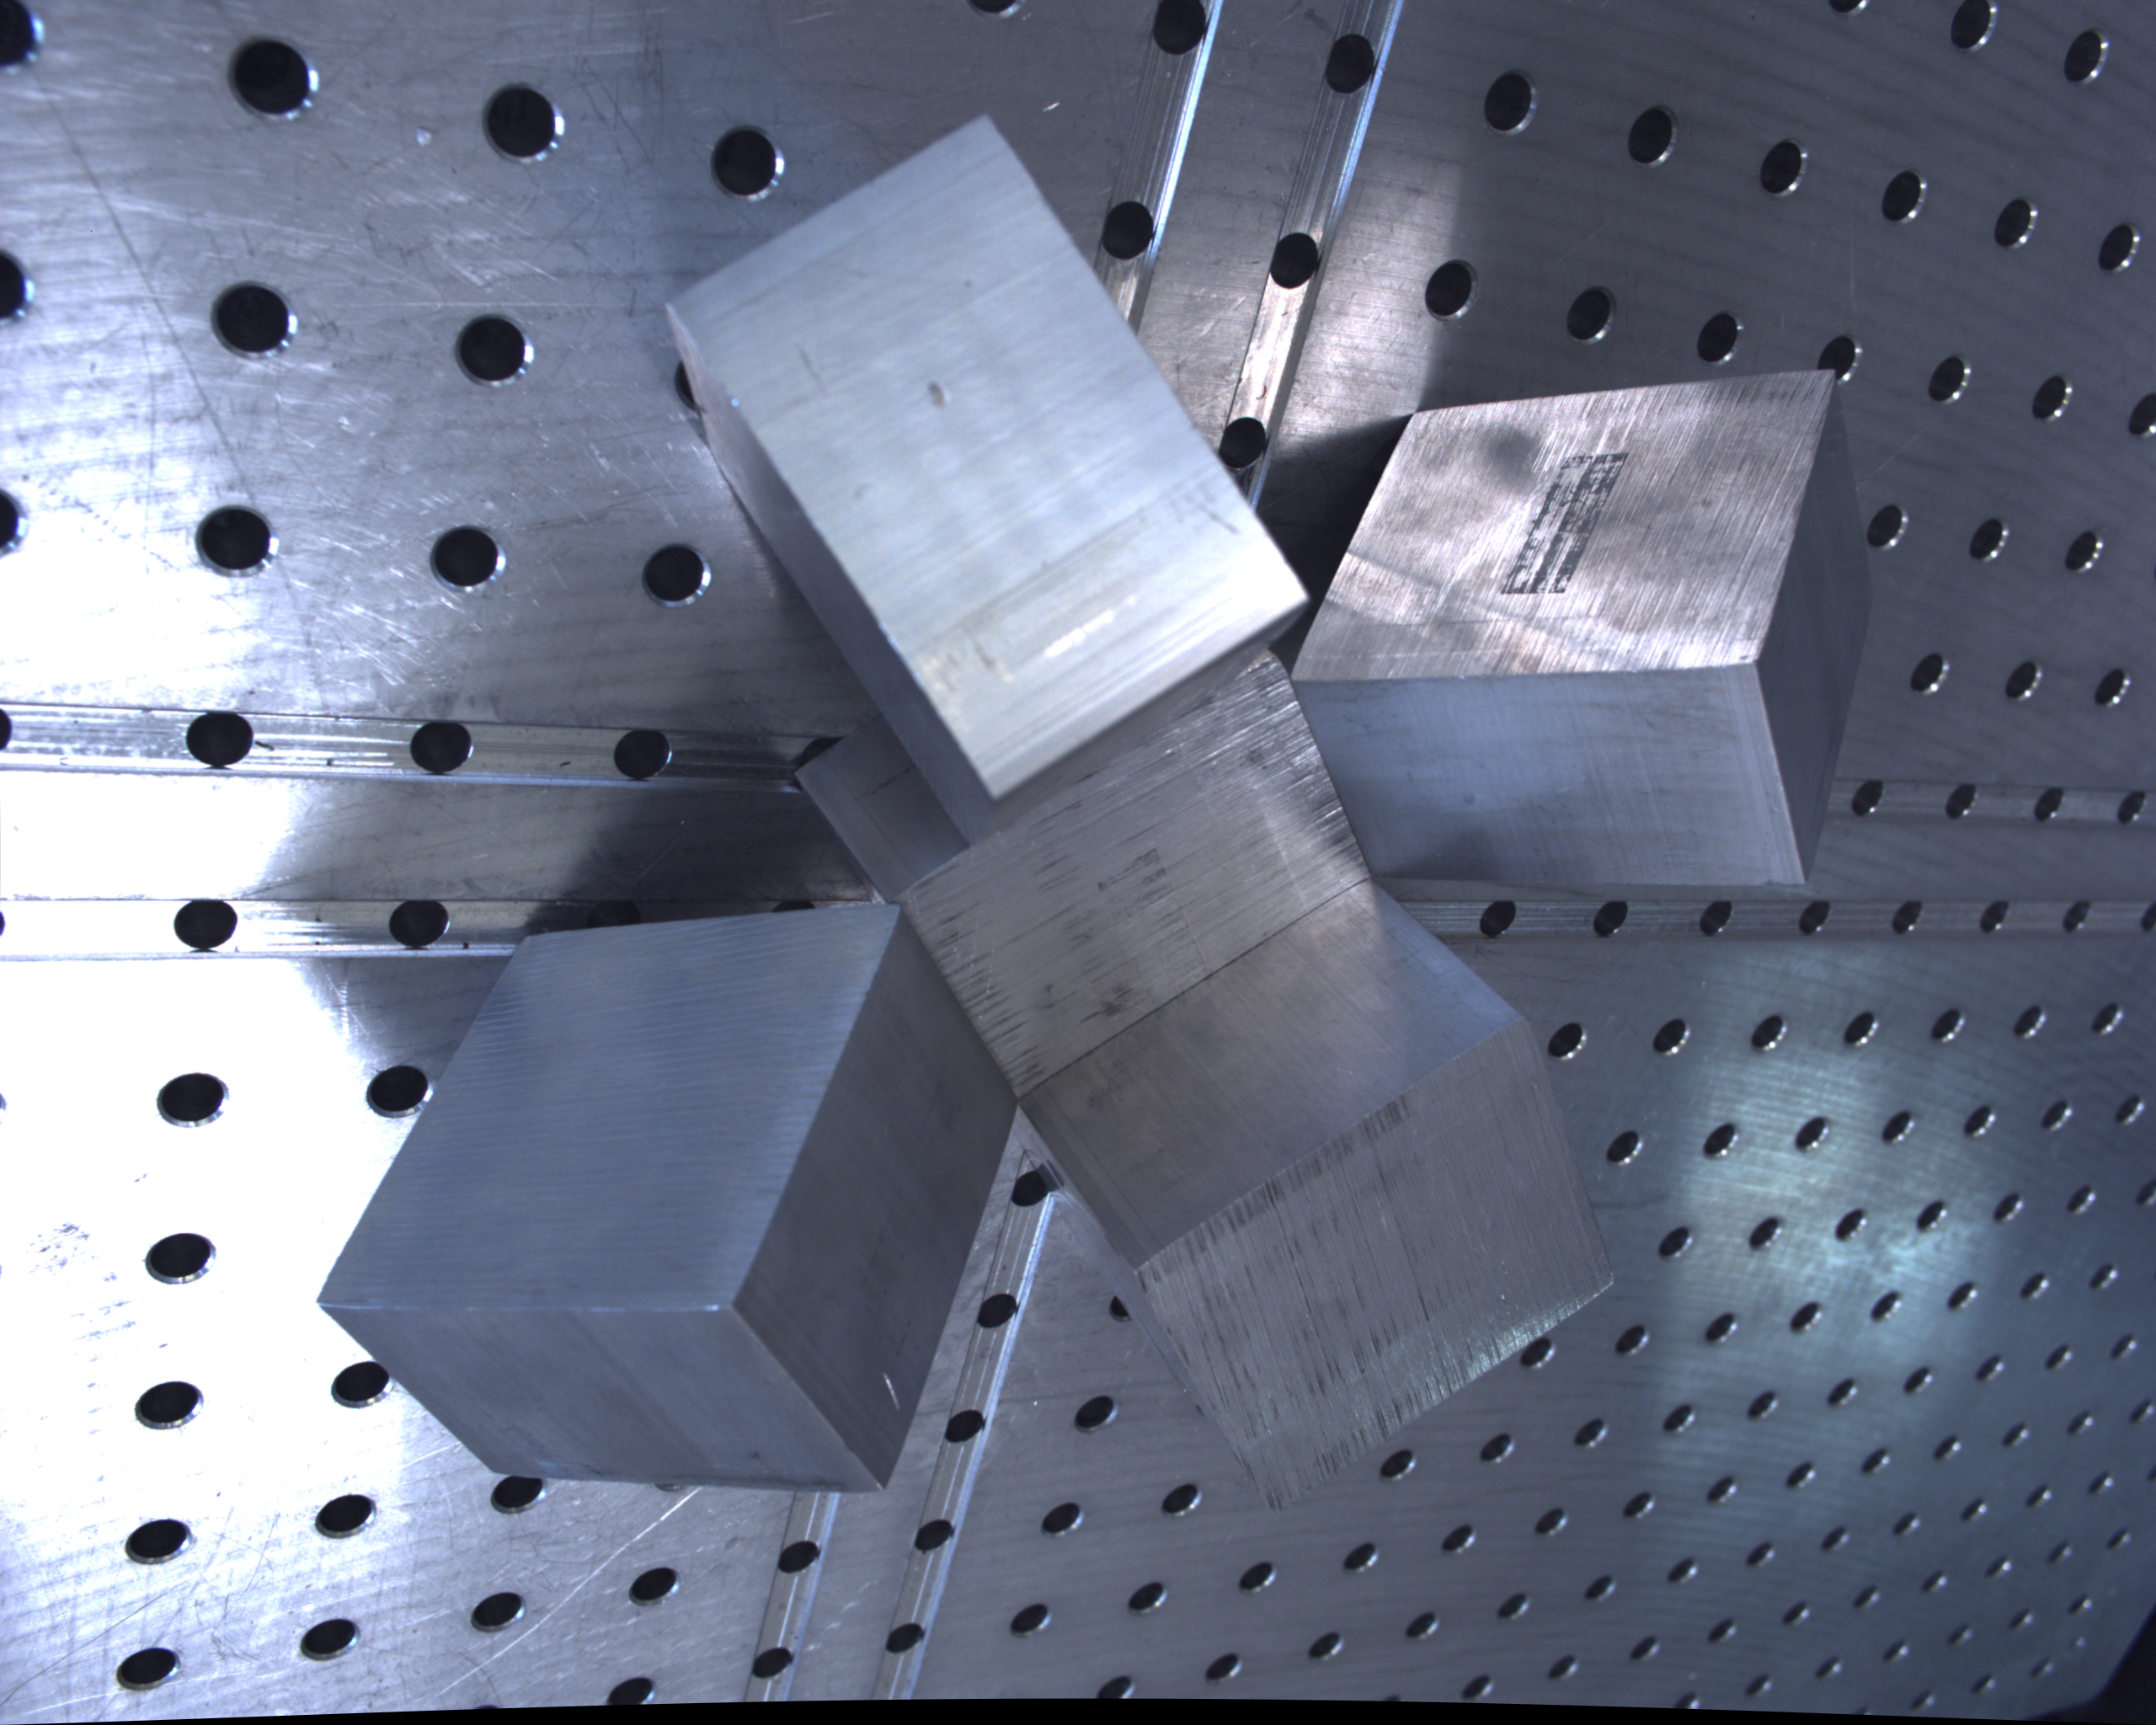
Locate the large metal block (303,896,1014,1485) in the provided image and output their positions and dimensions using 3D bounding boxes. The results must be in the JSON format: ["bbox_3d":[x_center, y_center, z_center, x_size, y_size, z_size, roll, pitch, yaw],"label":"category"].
[{"bbox_3d":[-0.067,0.055,0.353,0.080,0.080,0.050,-6,133,25],"label":"large metal block"}]

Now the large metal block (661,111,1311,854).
[{"bbox_3d":[-0.015,-0.051,0.315,0.050,0.080,0.080,-33,90,-7],"label":"large metal block"}]

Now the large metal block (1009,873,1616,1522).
[{"bbox_3d":[0.046,0.063,0.392,0.080,0.050,0.080,-33,130,-8],"label":"large metal block"}]

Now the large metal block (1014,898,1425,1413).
[{"bbox_3d":[0.034,0.057,0.447,0.080,0.050,0.080,-33,128,-8],"label":"large metal block"}]

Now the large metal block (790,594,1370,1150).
[{"bbox_3d":[0.005,0.000,0.397,0.080,0.050,0.080,-33,129,-7],"label":"large metal block"}]

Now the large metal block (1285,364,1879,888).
[{"bbox_3d":[0.094,-0.042,0.380,0.080,0.080,0.050,-63,140,-36],"label":"large metal block"}]
